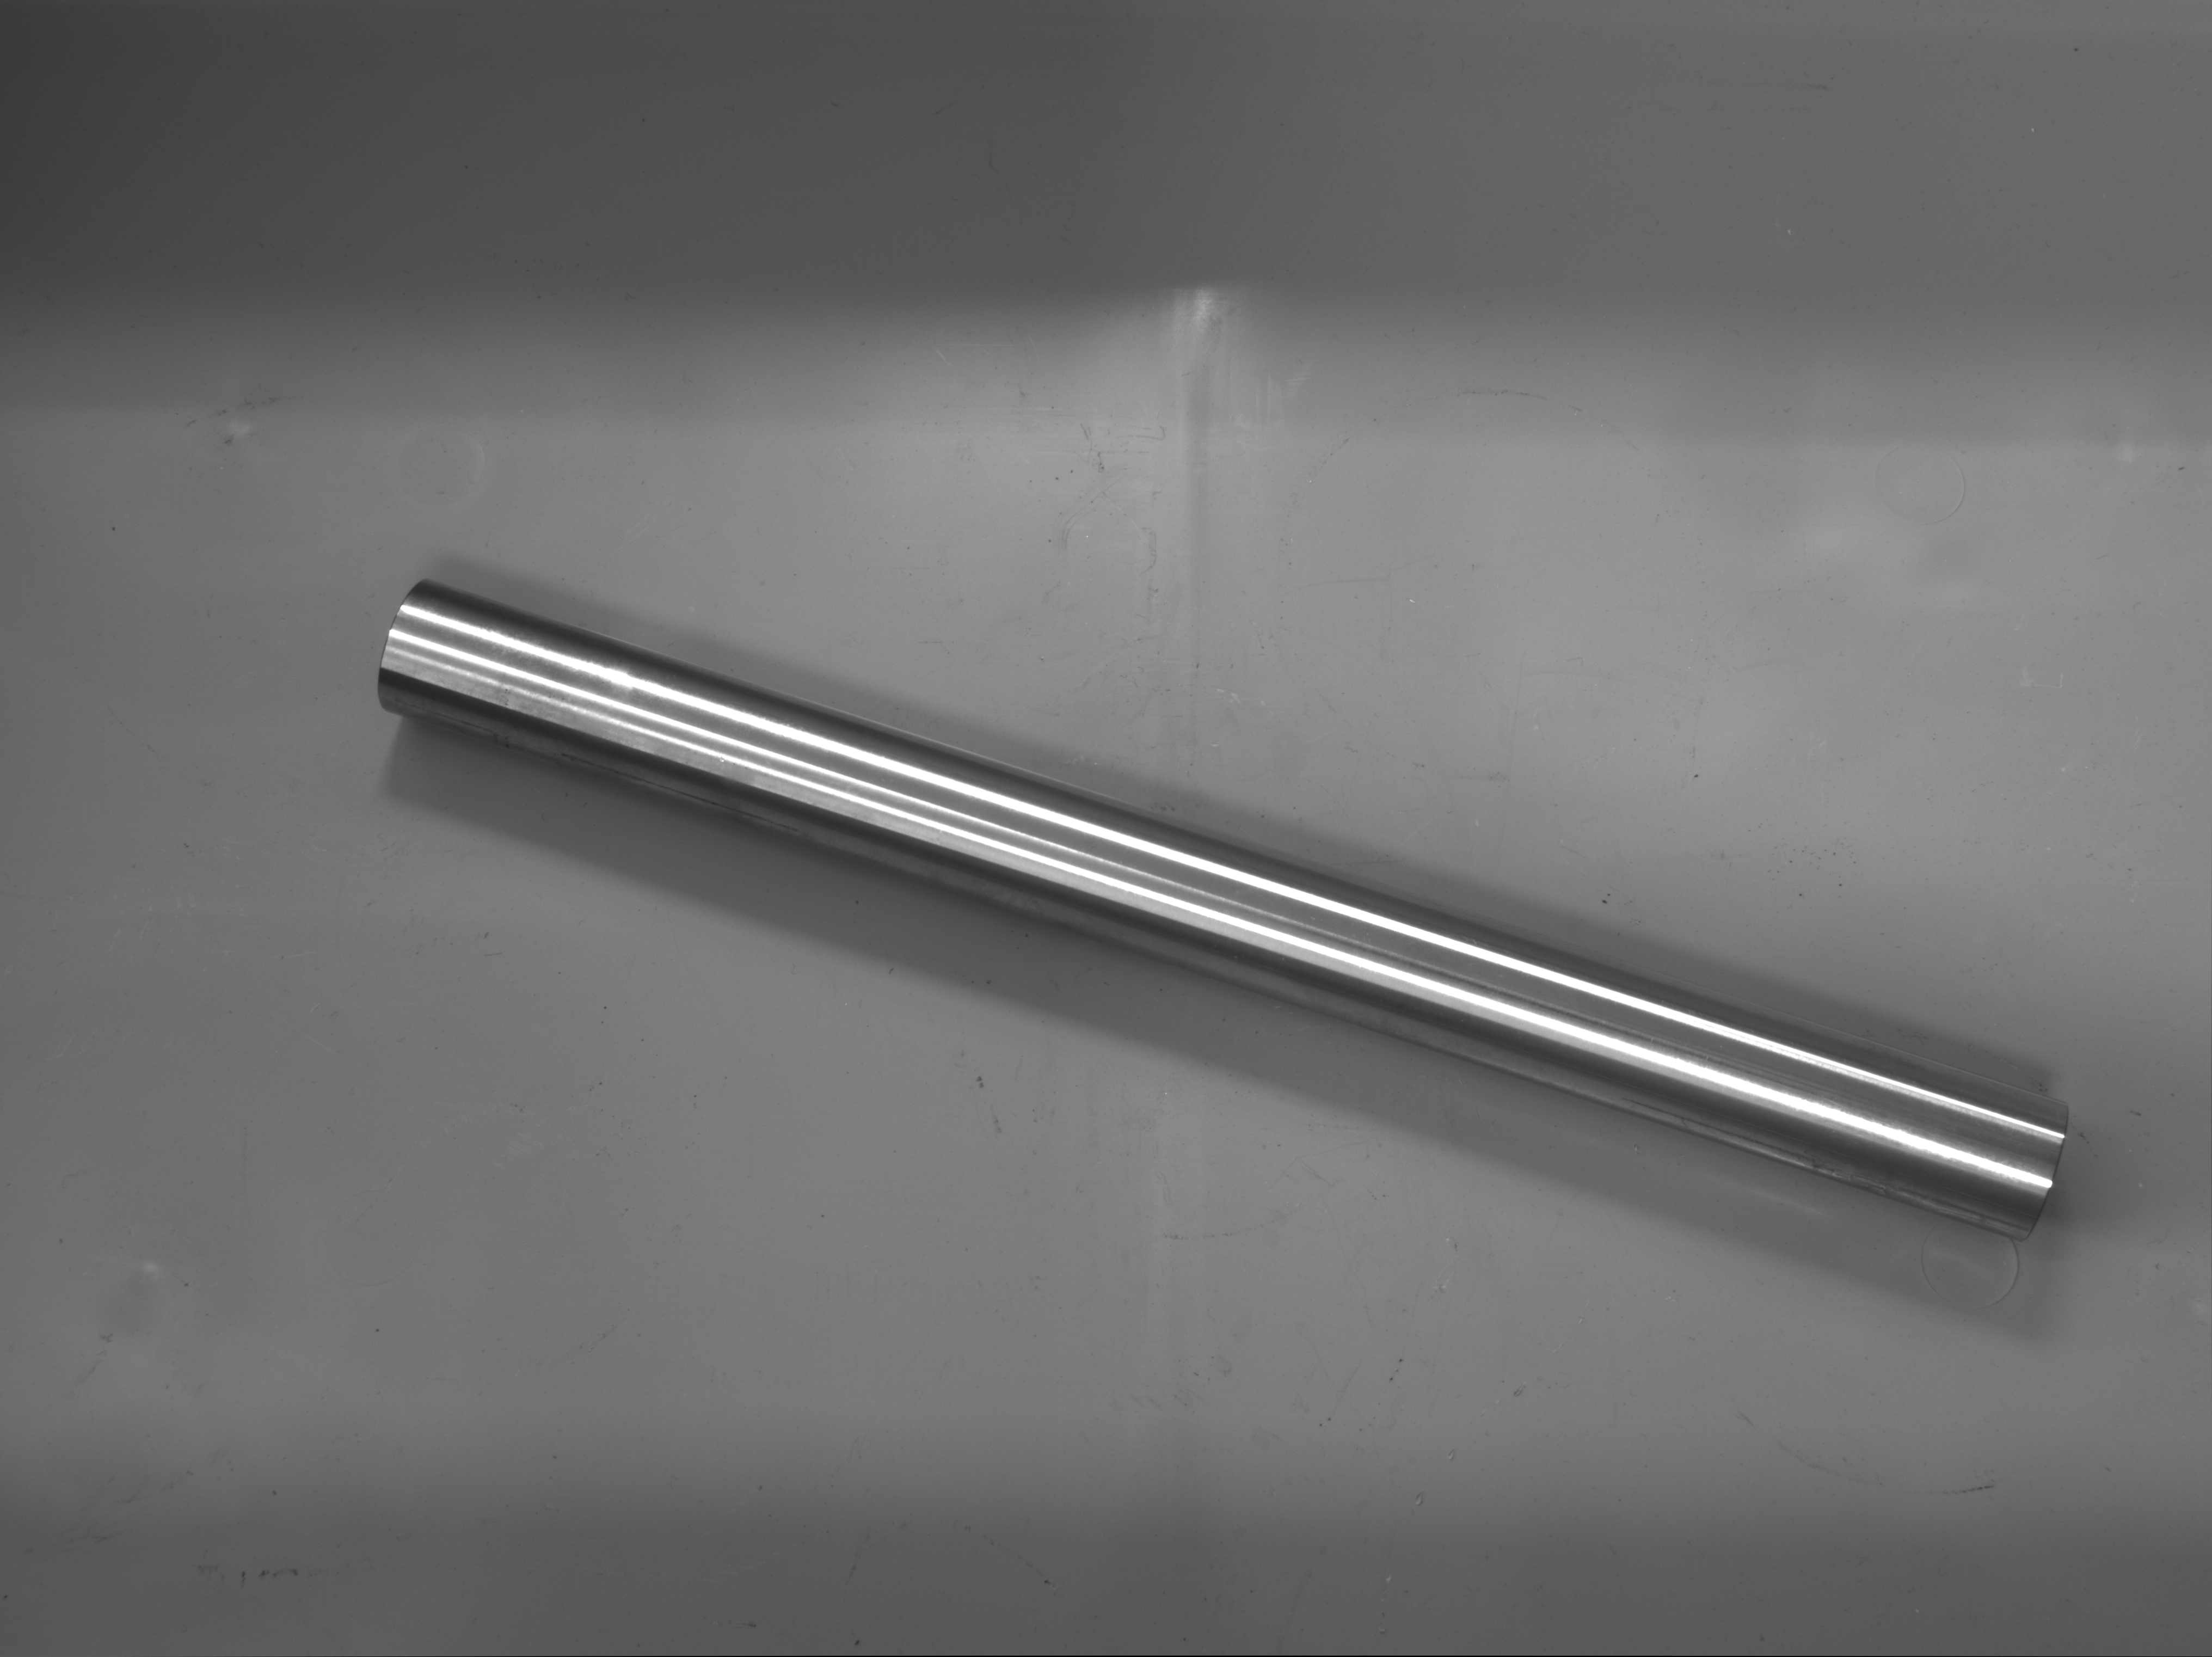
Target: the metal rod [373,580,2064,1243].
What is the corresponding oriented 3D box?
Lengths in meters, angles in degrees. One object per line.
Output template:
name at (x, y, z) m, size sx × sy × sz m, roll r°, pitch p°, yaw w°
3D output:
metal rod at (0.016, 0.013, 0.639) m, size 0.300 × 0.025 × 0.025 m, roll 18°, pitch 71°, yaw 6°
